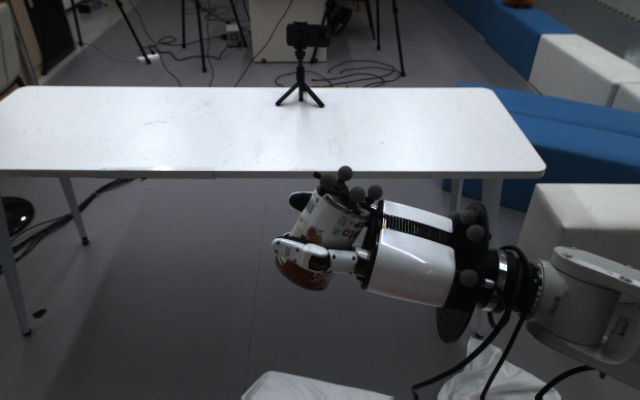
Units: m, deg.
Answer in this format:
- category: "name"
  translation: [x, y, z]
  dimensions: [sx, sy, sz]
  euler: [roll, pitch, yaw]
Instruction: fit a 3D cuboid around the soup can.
- category: "soup can"
  translation: [0.004, 0.041, 0.535]
  dimensions: [0.067, 0.101, 0.067]
  euler: [27, 18, -9]
